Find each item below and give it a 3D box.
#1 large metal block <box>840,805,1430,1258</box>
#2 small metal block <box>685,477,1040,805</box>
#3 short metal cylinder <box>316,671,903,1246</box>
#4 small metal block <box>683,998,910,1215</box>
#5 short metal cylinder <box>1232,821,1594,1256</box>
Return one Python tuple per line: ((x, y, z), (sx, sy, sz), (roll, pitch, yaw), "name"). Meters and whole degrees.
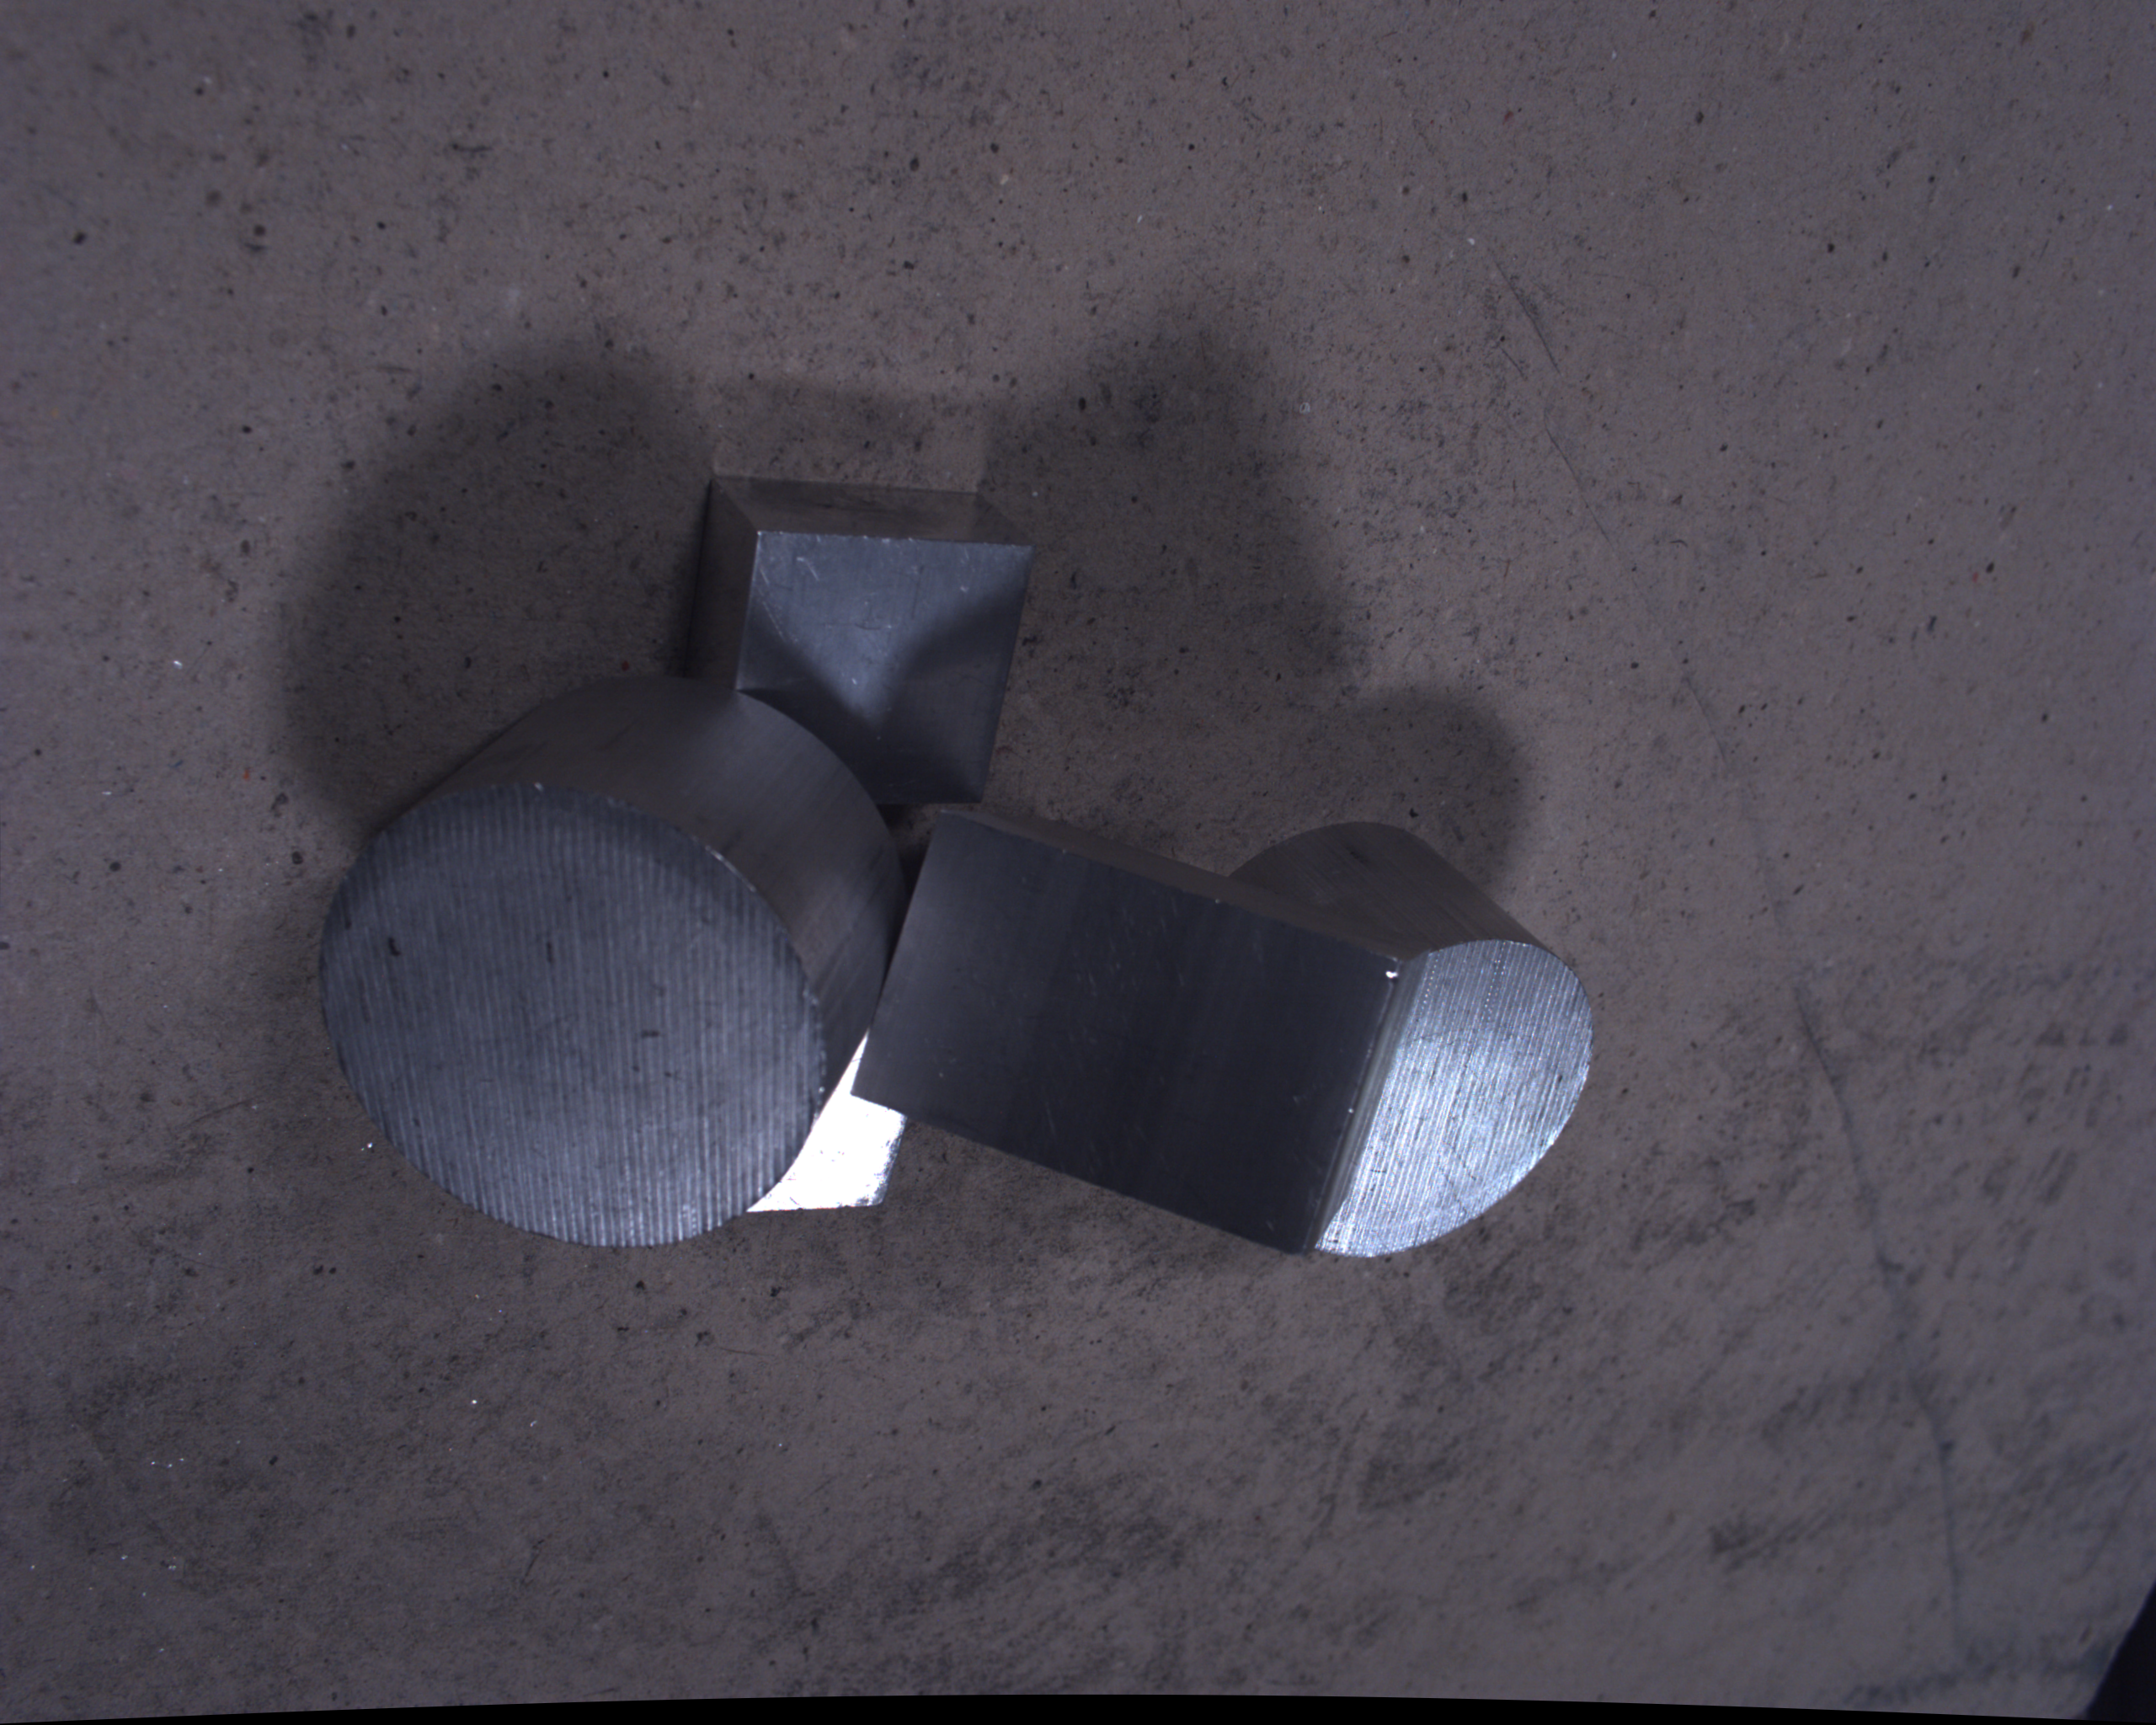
((0.014, 0.027, 0.374), (0.080, 0.080, 0.050), (1, 107, -77), "large metal block")
((-0.039, -0.038, 0.364), (0.050, 0.025, 0.050), (-1, 119, -28), "small metal block")
((-0.073, 0.015, 0.339), (0.080, 0.050, 0.079), (4, 114, 9), "short metal cylinder")
((-0.059, 0.040, 0.402), (0.050, 0.025, 0.050), (3, 117, -30), "small metal block")
((0.063, 0.038, 0.452), (0.081, 0.050, 0.079), (-14, 125, -21), "short metal cylinder")
